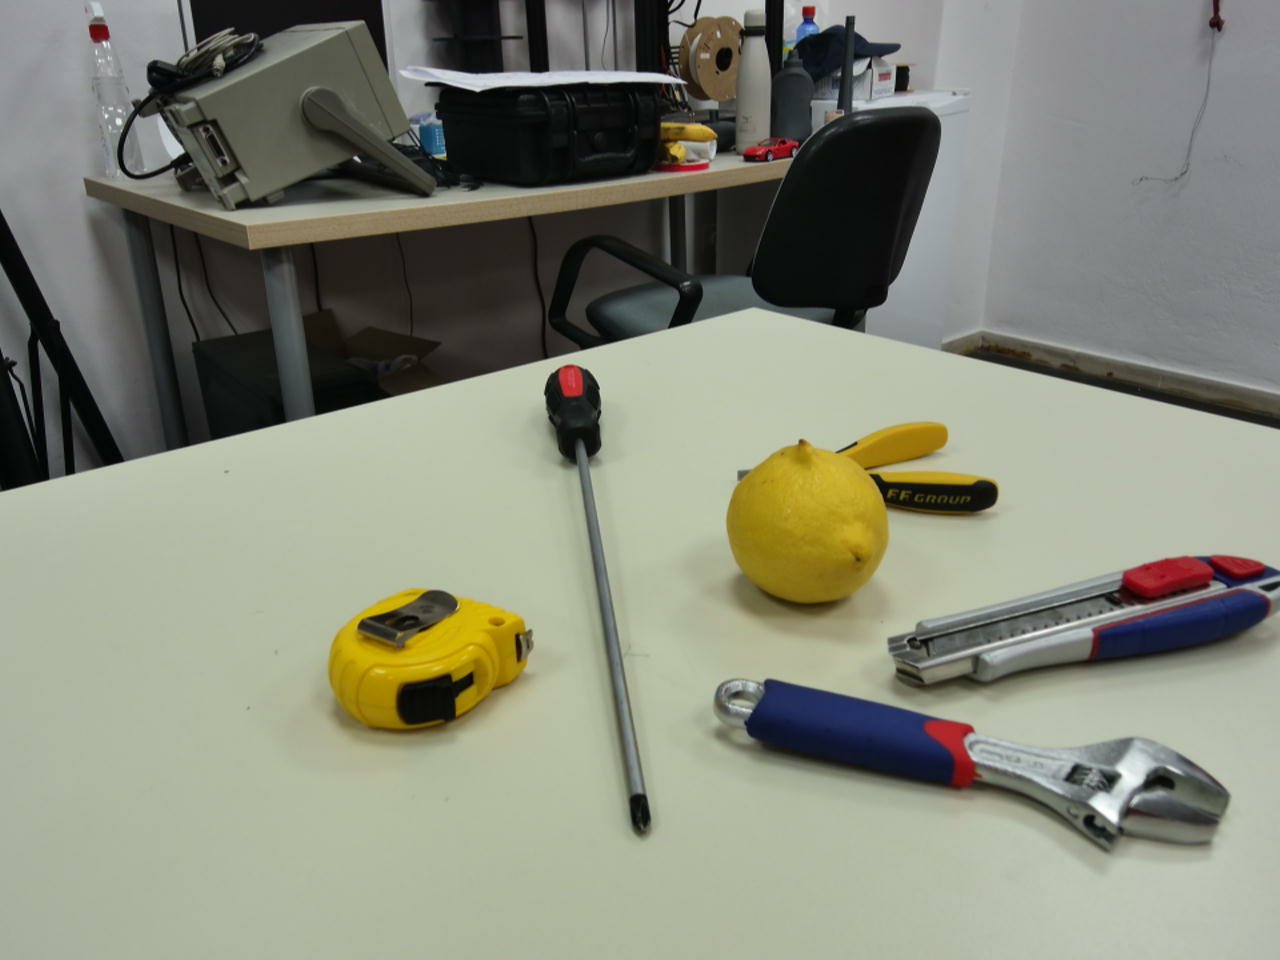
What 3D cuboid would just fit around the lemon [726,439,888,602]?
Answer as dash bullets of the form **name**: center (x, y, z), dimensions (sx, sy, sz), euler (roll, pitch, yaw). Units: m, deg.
- **lemon**: center (0.073, 0.016, 0.436), dimensions (0.070, 0.071, 0.071), euler (6, 23, 16)
